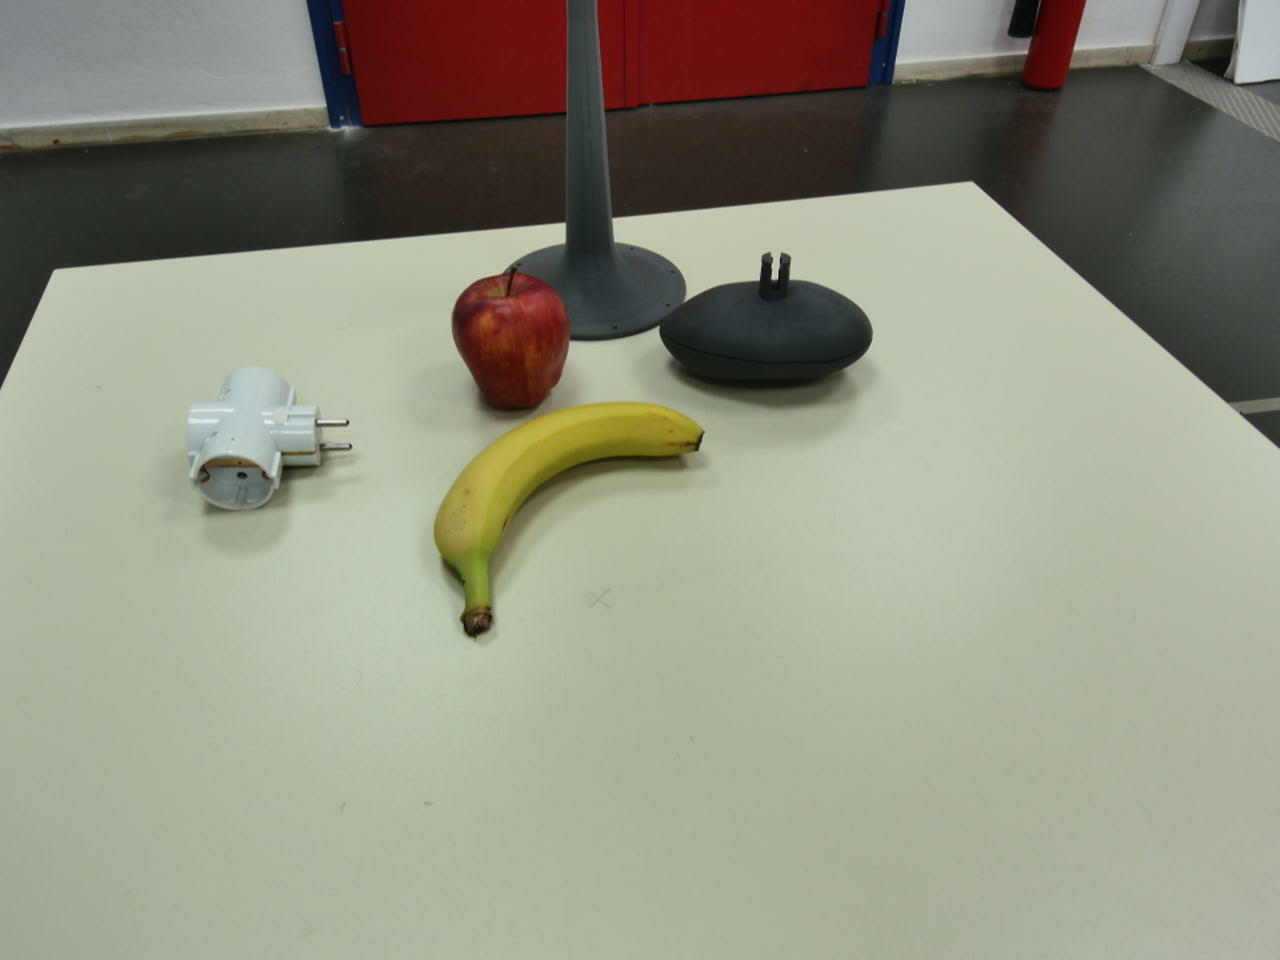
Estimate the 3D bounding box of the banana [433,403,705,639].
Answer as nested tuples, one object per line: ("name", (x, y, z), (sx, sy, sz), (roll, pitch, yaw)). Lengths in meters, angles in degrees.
("banana", (-0.055, 0.002, 0.588), (0.094, 0.041, 0.196), (30, 47, 31))
